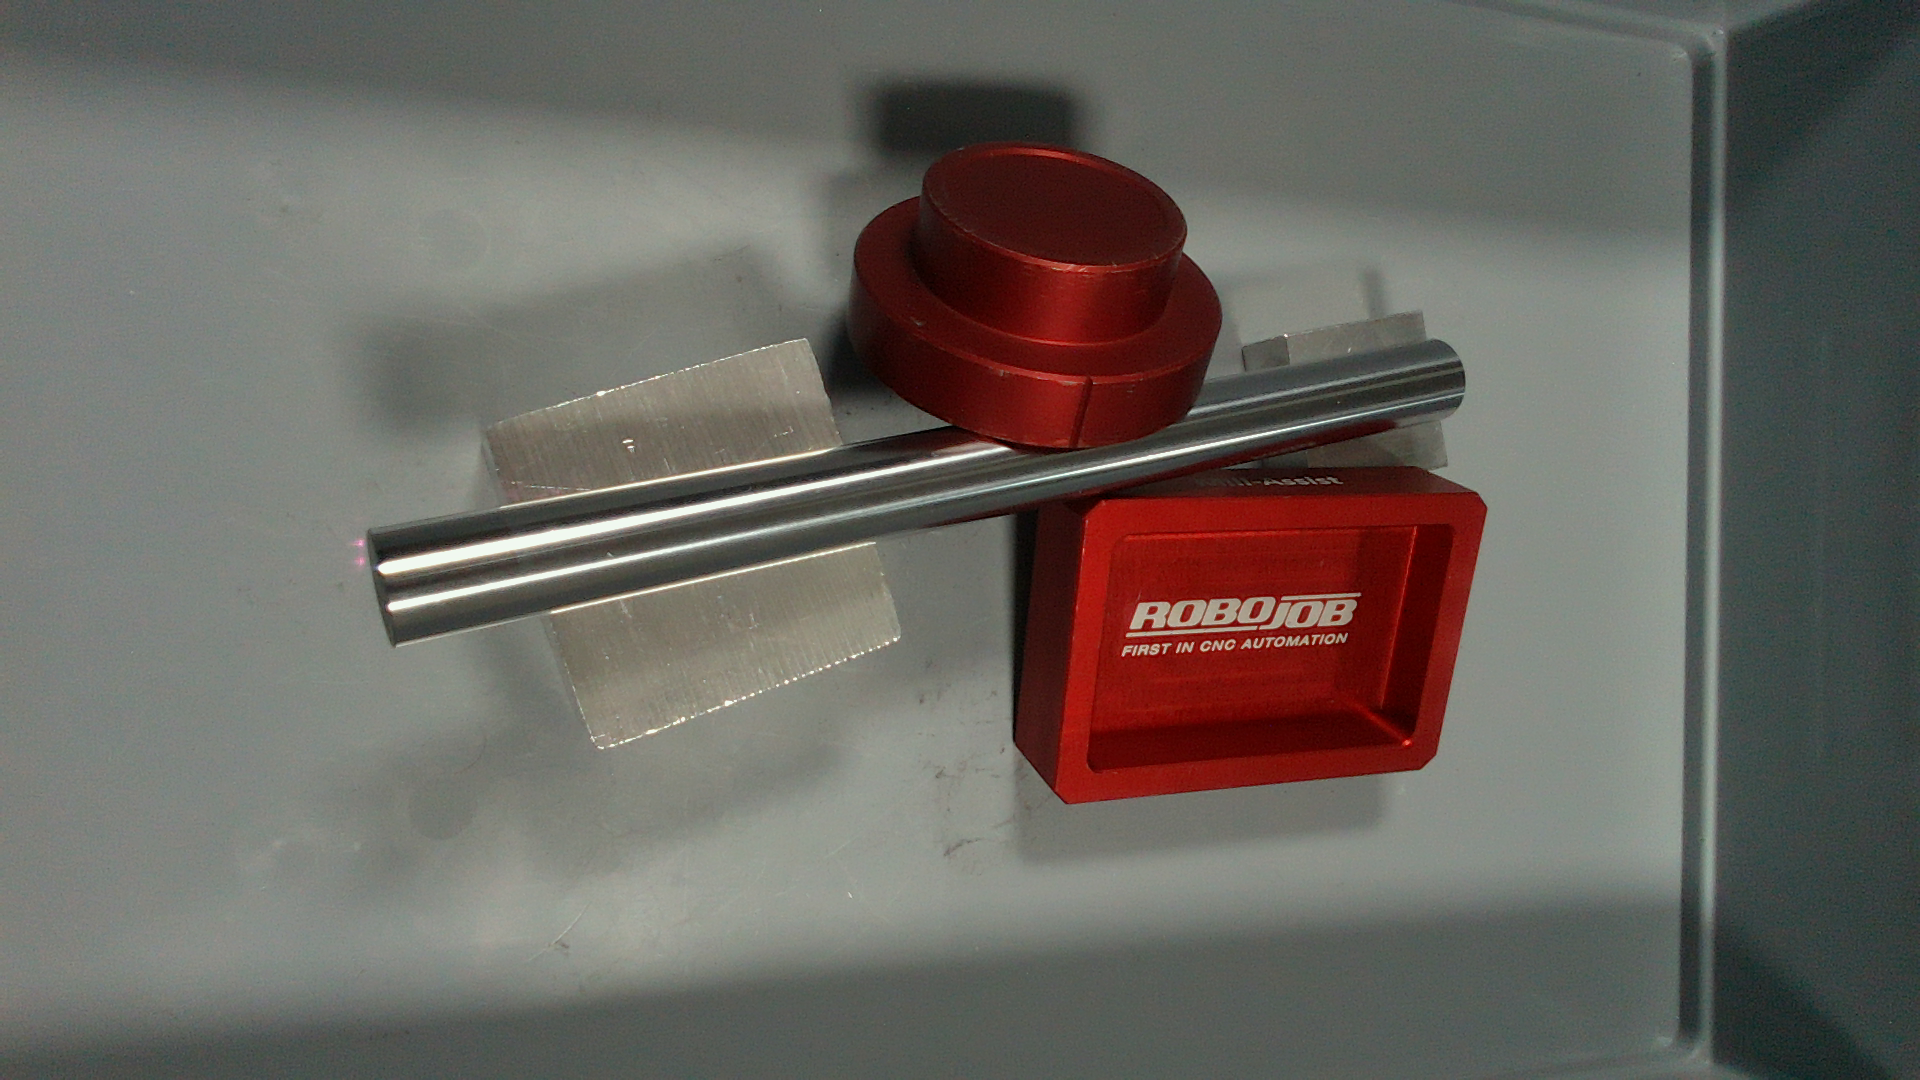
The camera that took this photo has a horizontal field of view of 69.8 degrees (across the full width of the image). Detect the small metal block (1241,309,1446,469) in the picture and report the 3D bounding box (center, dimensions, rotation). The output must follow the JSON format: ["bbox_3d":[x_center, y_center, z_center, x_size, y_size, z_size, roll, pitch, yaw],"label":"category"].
[{"bbox_3d":[0.122,-0.043,0.436,0.050,0.025,0.050,-12,94,-20],"label":"small metal block"}]

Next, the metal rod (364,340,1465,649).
[{"bbox_3d":[0.012,-0.019,0.349,0.301,0.025,0.025,-13,94,-27],"label":"metal rod"}]

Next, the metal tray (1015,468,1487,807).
[{"bbox_3d":[0.086,0.026,0.406,0.130,0.030,0.090,-2,110,-20],"label":"metal tray"}]

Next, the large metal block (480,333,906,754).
[{"bbox_3d":[-0.070,-0.001,0.353,0.080,0.050,0.080,-19,97,-19],"label":"large metal block"}]

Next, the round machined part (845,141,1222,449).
[{"bbox_3d":[0.021,-0.070,0.359,0.098,0.098,0.042,-5,132,-20],"label":"round machined part"}]
